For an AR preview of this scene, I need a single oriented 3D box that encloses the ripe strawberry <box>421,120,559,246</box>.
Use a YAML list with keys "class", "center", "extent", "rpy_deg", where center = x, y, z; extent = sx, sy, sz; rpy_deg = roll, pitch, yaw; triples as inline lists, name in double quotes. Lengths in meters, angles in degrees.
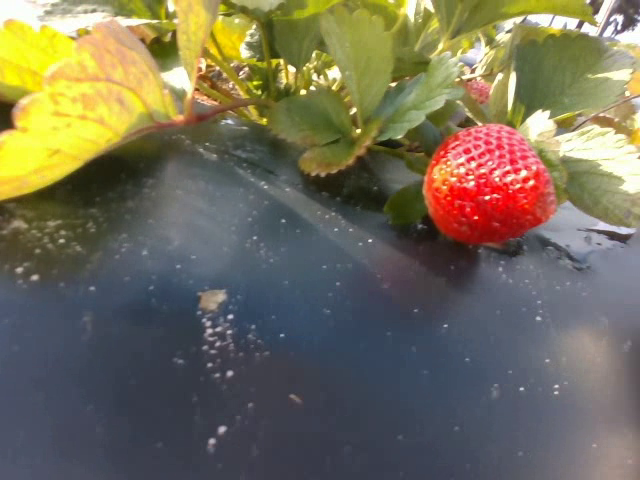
- class: "ripe strawberry"
  center: [0.049, -0.015, 0.155]
  extent: [0.041, 0.041, 0.047]
  rpy_deg: [-19, 17, -13]
